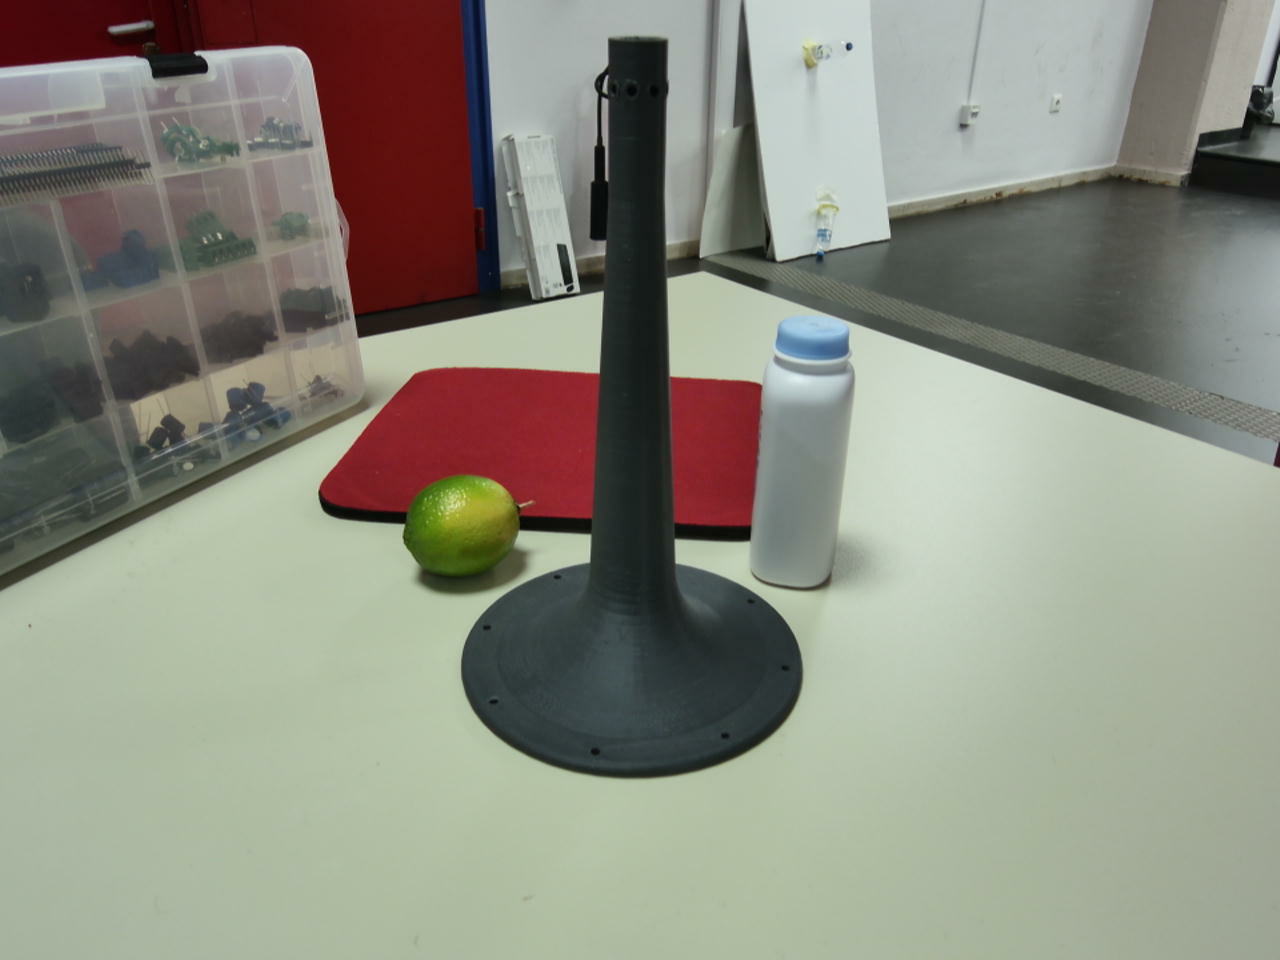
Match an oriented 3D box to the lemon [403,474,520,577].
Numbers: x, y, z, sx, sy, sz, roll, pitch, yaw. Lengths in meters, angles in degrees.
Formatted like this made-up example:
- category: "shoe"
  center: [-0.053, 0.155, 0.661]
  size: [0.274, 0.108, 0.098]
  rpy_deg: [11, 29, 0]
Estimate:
- category: "lemon"
  center: [-0.090, 0.023, 0.503]
  size: [0.055, 0.050, 0.054]
  rpy_deg: [6, 25, 11]
